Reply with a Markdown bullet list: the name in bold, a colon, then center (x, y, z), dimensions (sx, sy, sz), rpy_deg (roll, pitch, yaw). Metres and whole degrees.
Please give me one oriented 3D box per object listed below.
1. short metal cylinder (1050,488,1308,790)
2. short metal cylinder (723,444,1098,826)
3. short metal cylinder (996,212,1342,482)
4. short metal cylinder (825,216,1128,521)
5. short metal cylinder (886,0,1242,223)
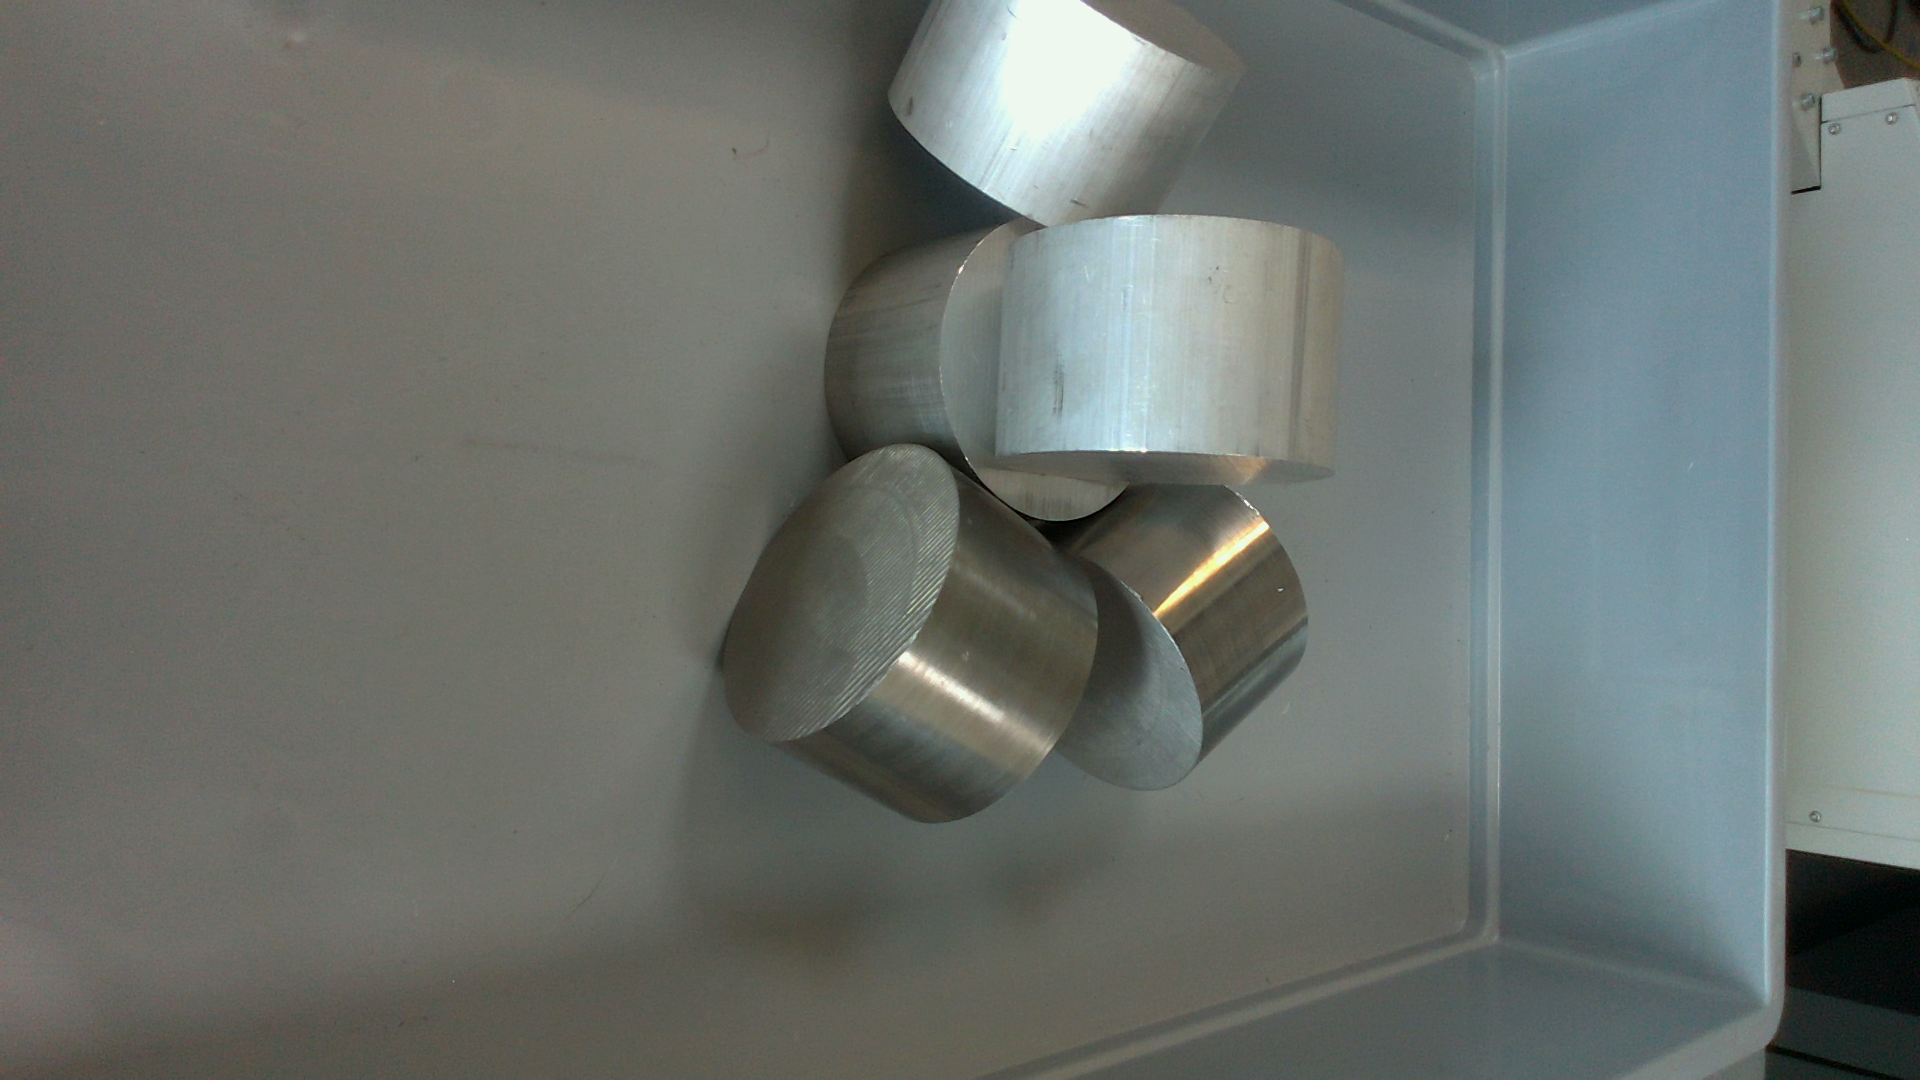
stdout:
- **short metal cylinder**: center (0.051, 0.024, 0.394), dimensions (0.050, 0.080, 0.080), rpy_deg (-35, 112, -33)
- **short metal cylinder**: center (-0.013, 0.024, 0.340), dimensions (0.050, 0.080, 0.080), rpy_deg (36, 68, -34)
- **short metal cylinder**: center (0.049, -0.042, 0.327), dimensions (0.080, 0.080, 0.050), rpy_deg (4, 87, -40)
- **short metal cylinder**: center (0.010, -0.045, 0.378), dimensions (0.080, 0.050, 0.080), rpy_deg (0, 90, -40)
- **short metal cylinder**: center (0.027, -0.123, 0.366), dimensions (0.080, 0.080, 0.050), rpy_deg (5, 129, -40)
